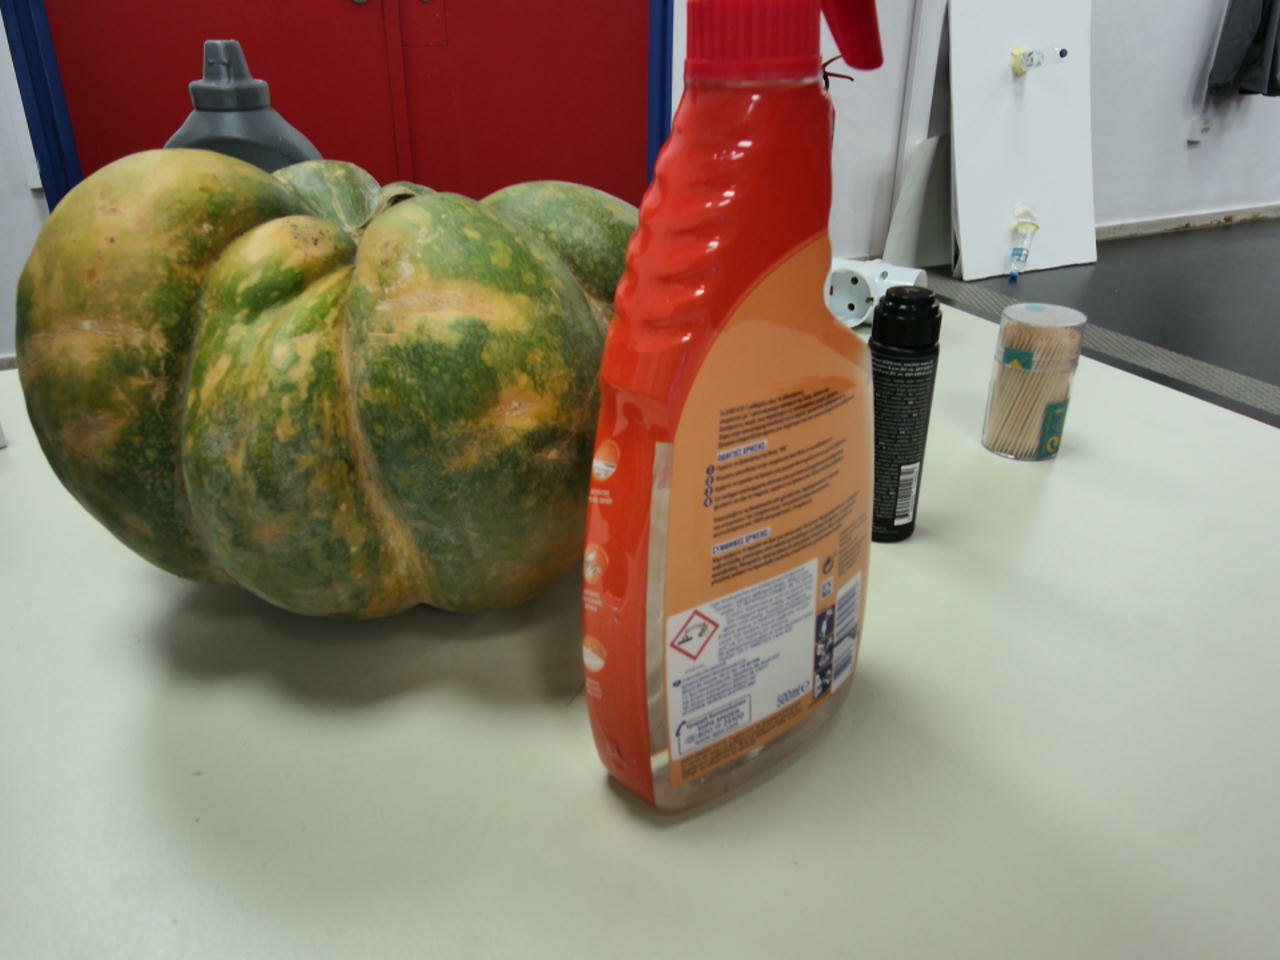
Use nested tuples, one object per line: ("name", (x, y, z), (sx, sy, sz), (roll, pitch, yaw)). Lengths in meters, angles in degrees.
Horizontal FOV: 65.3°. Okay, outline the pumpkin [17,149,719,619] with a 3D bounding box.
("pumpkin", (-0.103, -0.049, 0.405), (0.270, 0.173, 0.237), (4, 25, 10))
